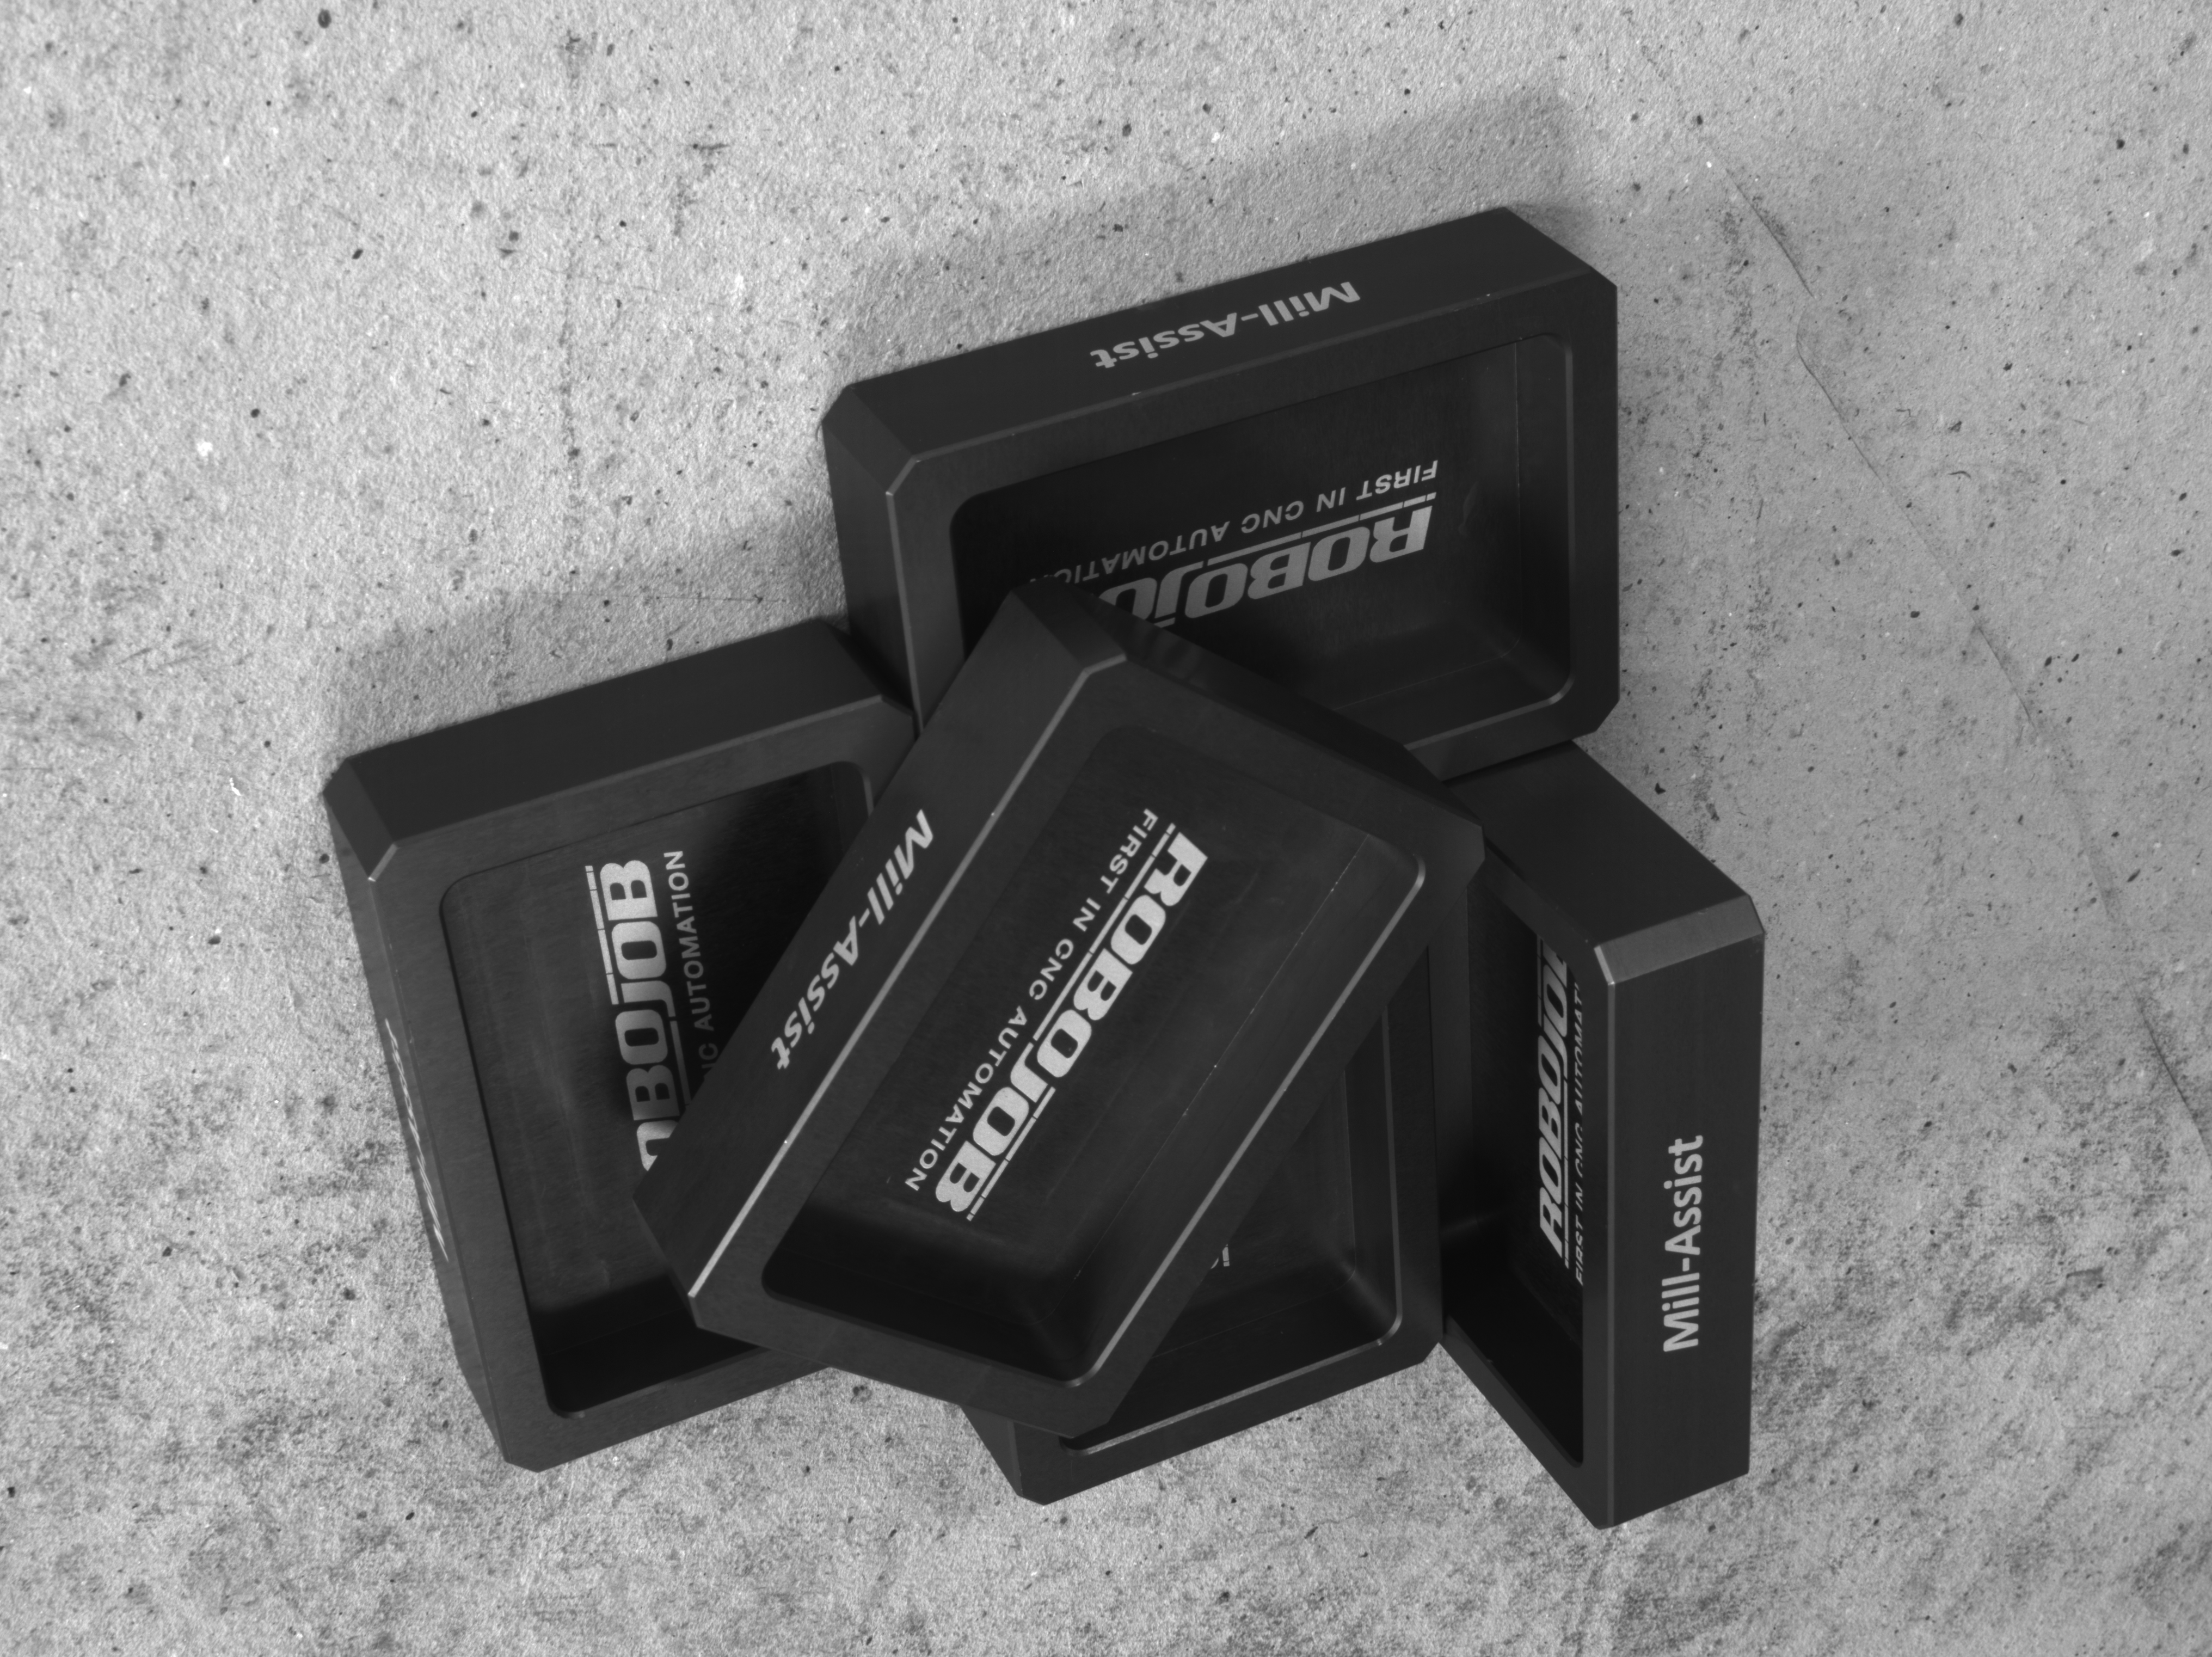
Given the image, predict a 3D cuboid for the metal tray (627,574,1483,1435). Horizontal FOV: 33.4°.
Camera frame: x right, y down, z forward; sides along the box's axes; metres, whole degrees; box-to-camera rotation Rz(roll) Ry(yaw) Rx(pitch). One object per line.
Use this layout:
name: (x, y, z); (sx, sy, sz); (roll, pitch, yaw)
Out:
metal tray: (-0.008, 0.032, 0.613); (0.090, 0.030, 0.130); (24, 106, -36)

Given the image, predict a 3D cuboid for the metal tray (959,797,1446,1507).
metal tray: (0.014, 0.055, 0.673); (0.090, 0.030, 0.130); (-17, 126, -17)

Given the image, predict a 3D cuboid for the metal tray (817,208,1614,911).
metal tray: (0.022, -0.044, 0.620); (0.130, 0.030, 0.090); (-17, 125, -18)

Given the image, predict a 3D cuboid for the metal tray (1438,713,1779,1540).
metal tray: (0.083, 0.052, 0.669); (0.030, 0.090, 0.130); (-17, 125, -19)

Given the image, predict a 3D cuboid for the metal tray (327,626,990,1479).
metal tray: (-0.072, 0.039, 0.618); (0.090, 0.030, 0.130); (-17, 124, -18)
